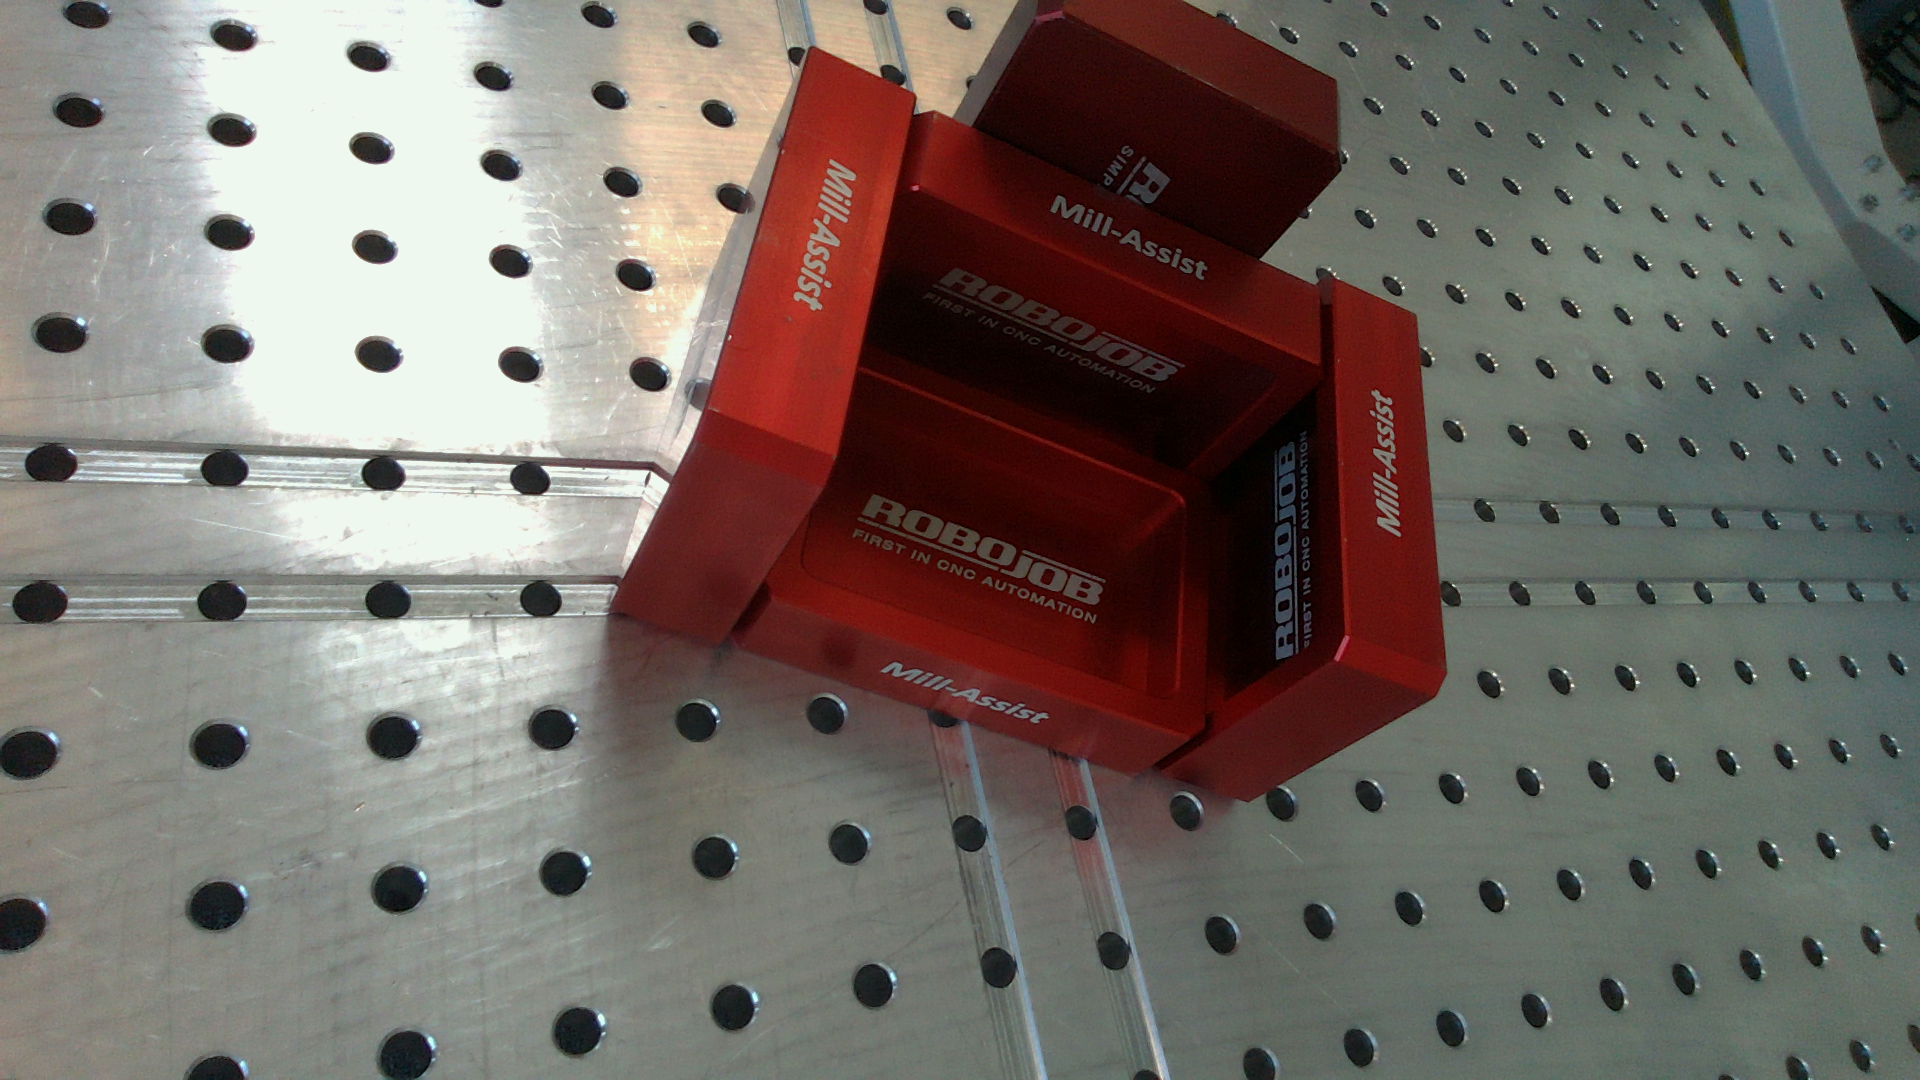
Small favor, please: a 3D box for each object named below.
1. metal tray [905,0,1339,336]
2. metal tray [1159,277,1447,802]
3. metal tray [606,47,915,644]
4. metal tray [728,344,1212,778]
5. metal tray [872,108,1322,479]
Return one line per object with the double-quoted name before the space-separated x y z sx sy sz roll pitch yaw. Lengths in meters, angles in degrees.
"metal tray" 0.036 -0.095 0.402 0.090 0.130 0.030 21 54 -16
"metal tray" 0.095 0.000 0.401 0.030 0.090 0.130 20 54 -16
"metal tray" -0.051 -0.050 0.354 0.030 0.090 0.130 20 54 -17
"metal tray" 0.008 0.005 0.390 0.130 0.030 0.090 20 54 -17
"metal tray" 0.027 -0.060 0.401 0.130 0.090 0.030 20 54 -17
